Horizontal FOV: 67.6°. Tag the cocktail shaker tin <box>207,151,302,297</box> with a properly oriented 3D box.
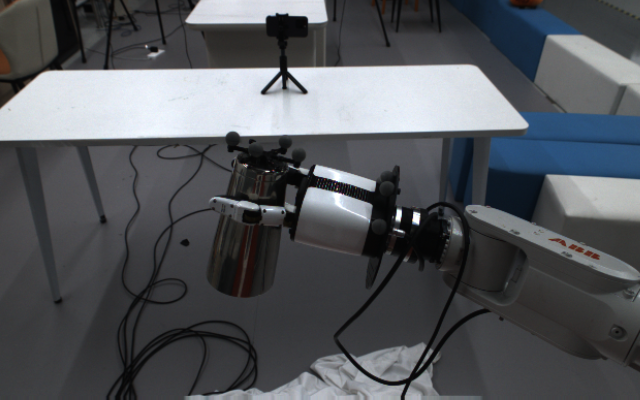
[{"bbox_3d":[-0.085,0.026,0.620,0.093,0.170,0.093,12,25,-6],"label":"cocktail shaker tin"}]
